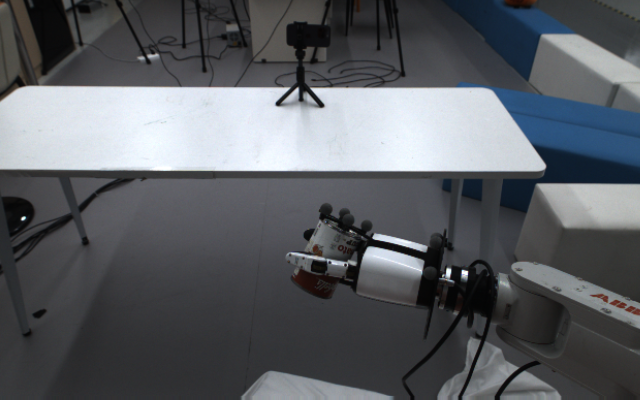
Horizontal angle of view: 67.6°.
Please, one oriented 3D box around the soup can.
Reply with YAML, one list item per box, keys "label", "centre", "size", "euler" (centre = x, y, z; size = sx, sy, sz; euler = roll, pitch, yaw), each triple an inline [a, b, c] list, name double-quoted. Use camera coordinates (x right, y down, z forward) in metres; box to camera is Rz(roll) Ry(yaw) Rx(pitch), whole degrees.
- label: "soup can"
  centre: [0.010, 0.084, 0.704]
  size: [0.067, 0.101, 0.067]
  euler: [26, 6, -3]
